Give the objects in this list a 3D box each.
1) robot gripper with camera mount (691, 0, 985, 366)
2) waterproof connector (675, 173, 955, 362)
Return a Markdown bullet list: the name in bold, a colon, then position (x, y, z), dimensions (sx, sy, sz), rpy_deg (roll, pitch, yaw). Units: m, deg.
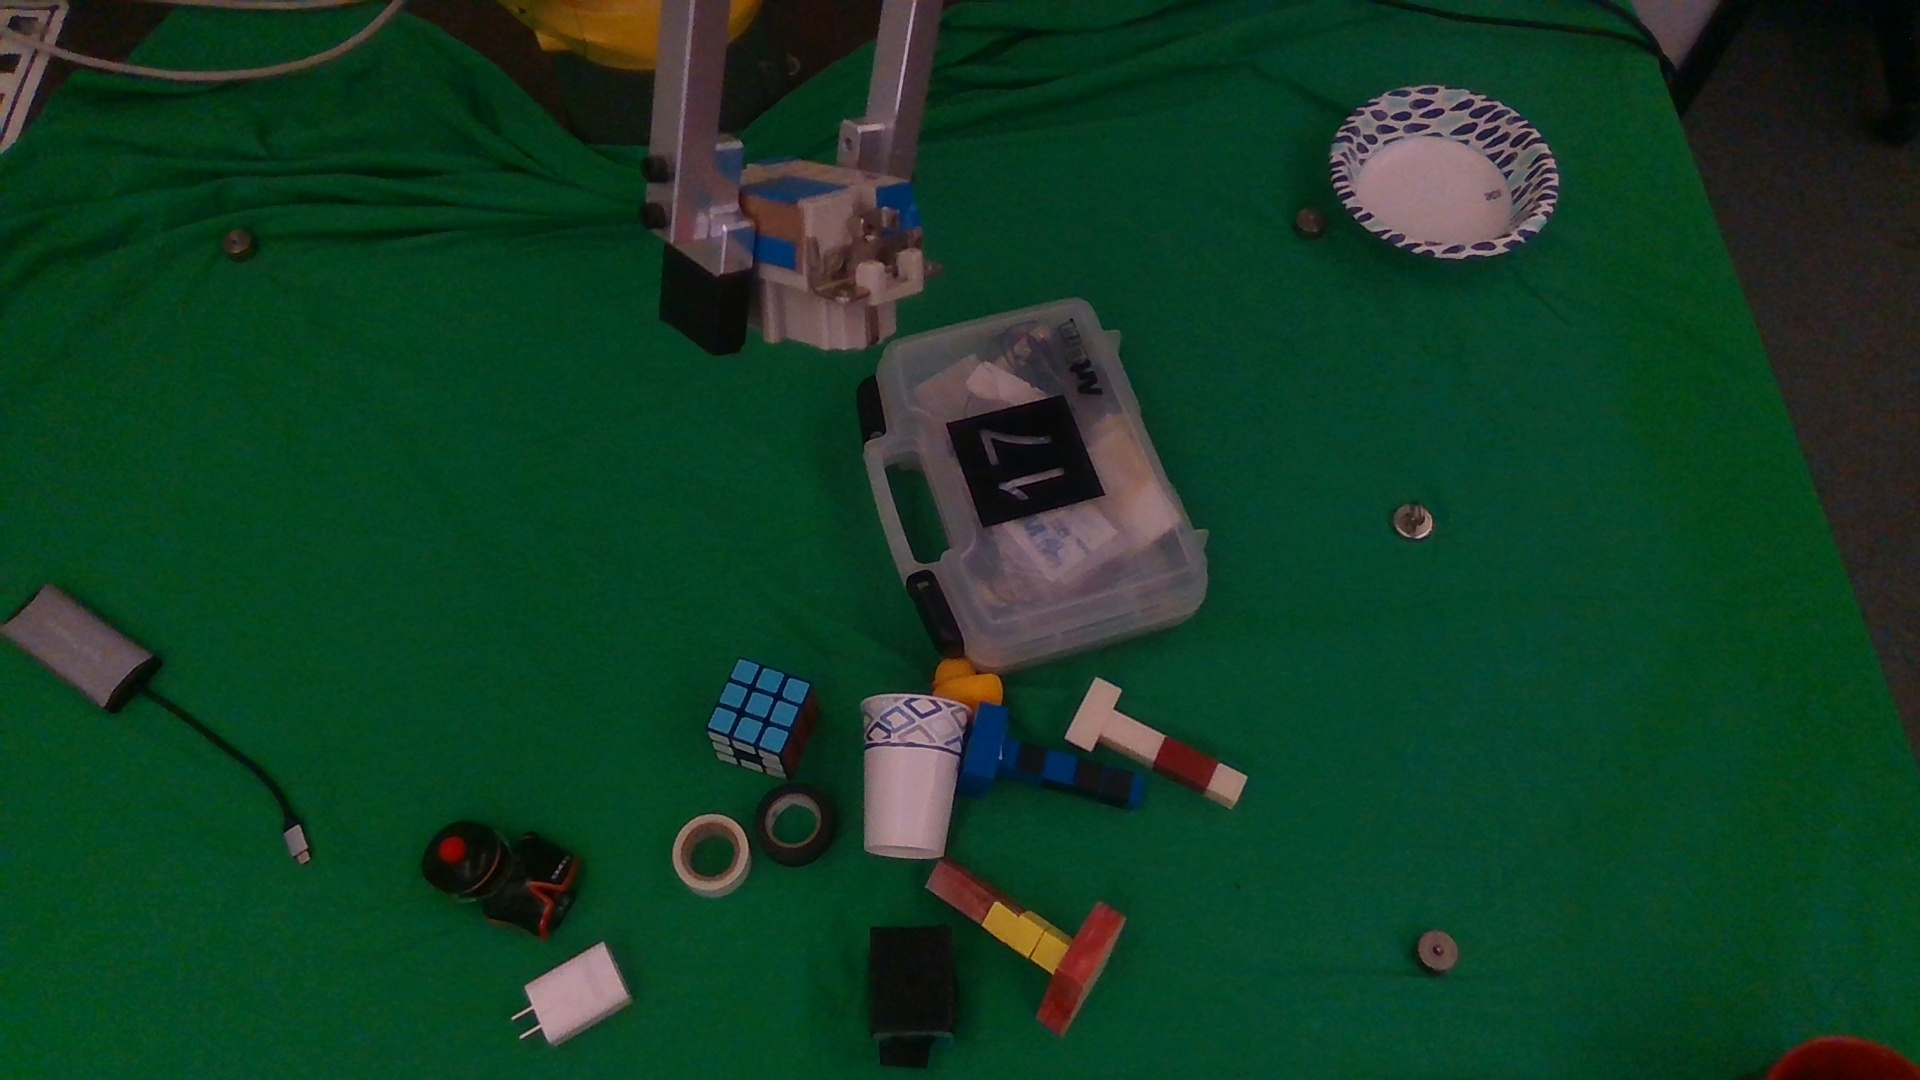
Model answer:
- **robot gripper with camera mount**: position (-0.086, -0.148, 0.339), dimensions (0.194, 0.158, 0.118), rpy_deg (30, 33, 31)
- **waterproof connector**: position (-0.036, -0.065, 0.331), dimensions (0.065, 0.037, 0.034), rpy_deg (19, 31, 36)
